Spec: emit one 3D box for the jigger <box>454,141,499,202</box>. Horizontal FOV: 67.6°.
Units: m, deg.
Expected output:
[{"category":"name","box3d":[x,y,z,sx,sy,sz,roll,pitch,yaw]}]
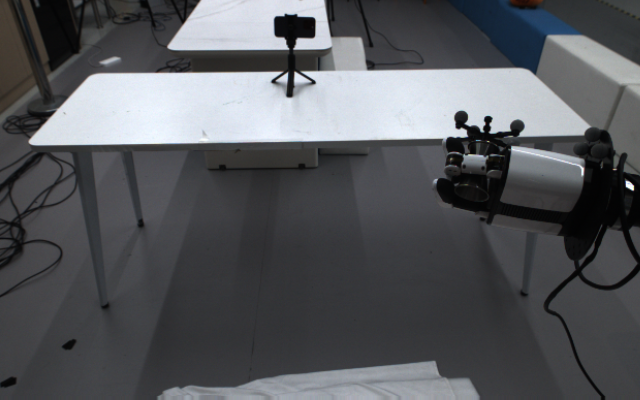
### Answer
[{"category":"jigger","box3d":[0.204,-0.038,0.619,0.043,0.043,0.071,13,69,15]}]
